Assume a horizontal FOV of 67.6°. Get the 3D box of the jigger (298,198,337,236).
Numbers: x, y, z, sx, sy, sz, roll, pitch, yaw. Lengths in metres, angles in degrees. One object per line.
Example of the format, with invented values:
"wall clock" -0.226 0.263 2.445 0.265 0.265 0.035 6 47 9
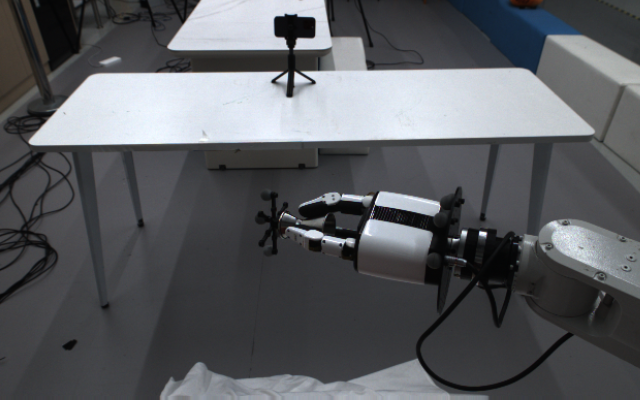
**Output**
"jigger" -0.011 0.033 0.658 0.071 0.043 0.043 4 33 23
